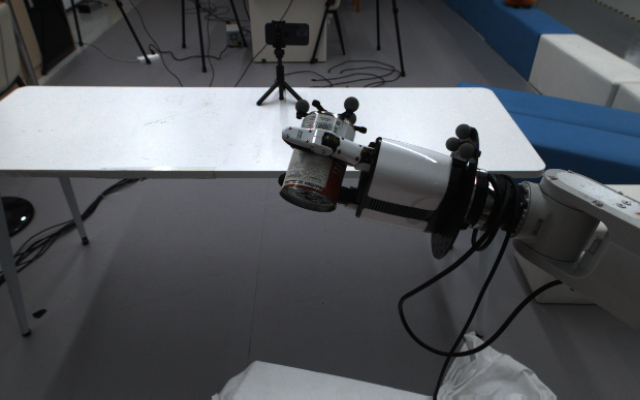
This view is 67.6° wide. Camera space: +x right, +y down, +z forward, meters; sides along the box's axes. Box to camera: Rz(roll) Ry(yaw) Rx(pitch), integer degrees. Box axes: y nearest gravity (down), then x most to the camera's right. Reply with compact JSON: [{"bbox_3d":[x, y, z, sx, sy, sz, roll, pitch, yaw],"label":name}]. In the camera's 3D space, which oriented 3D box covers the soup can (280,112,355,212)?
[{"bbox_3d":[0.000,-0.045,0.574,0.067,0.067,0.101,11,72,13],"label":"soup can"}]
